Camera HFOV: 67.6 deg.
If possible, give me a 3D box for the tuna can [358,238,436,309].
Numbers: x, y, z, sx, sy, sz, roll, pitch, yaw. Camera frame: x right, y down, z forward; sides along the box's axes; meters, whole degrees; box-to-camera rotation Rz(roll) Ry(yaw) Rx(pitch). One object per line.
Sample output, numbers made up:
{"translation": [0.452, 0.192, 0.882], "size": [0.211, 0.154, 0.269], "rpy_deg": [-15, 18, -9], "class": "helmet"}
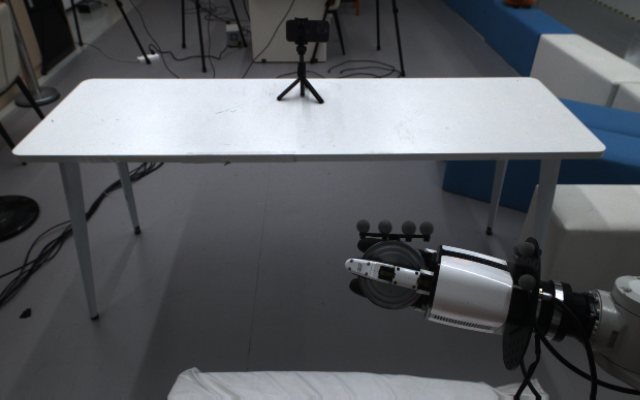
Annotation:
{"translation": [0.093, 0.090, 0.607], "size": [0.085, 0.085, 0.034], "rpy_deg": [14, -3, 16], "class": "tuna can"}
